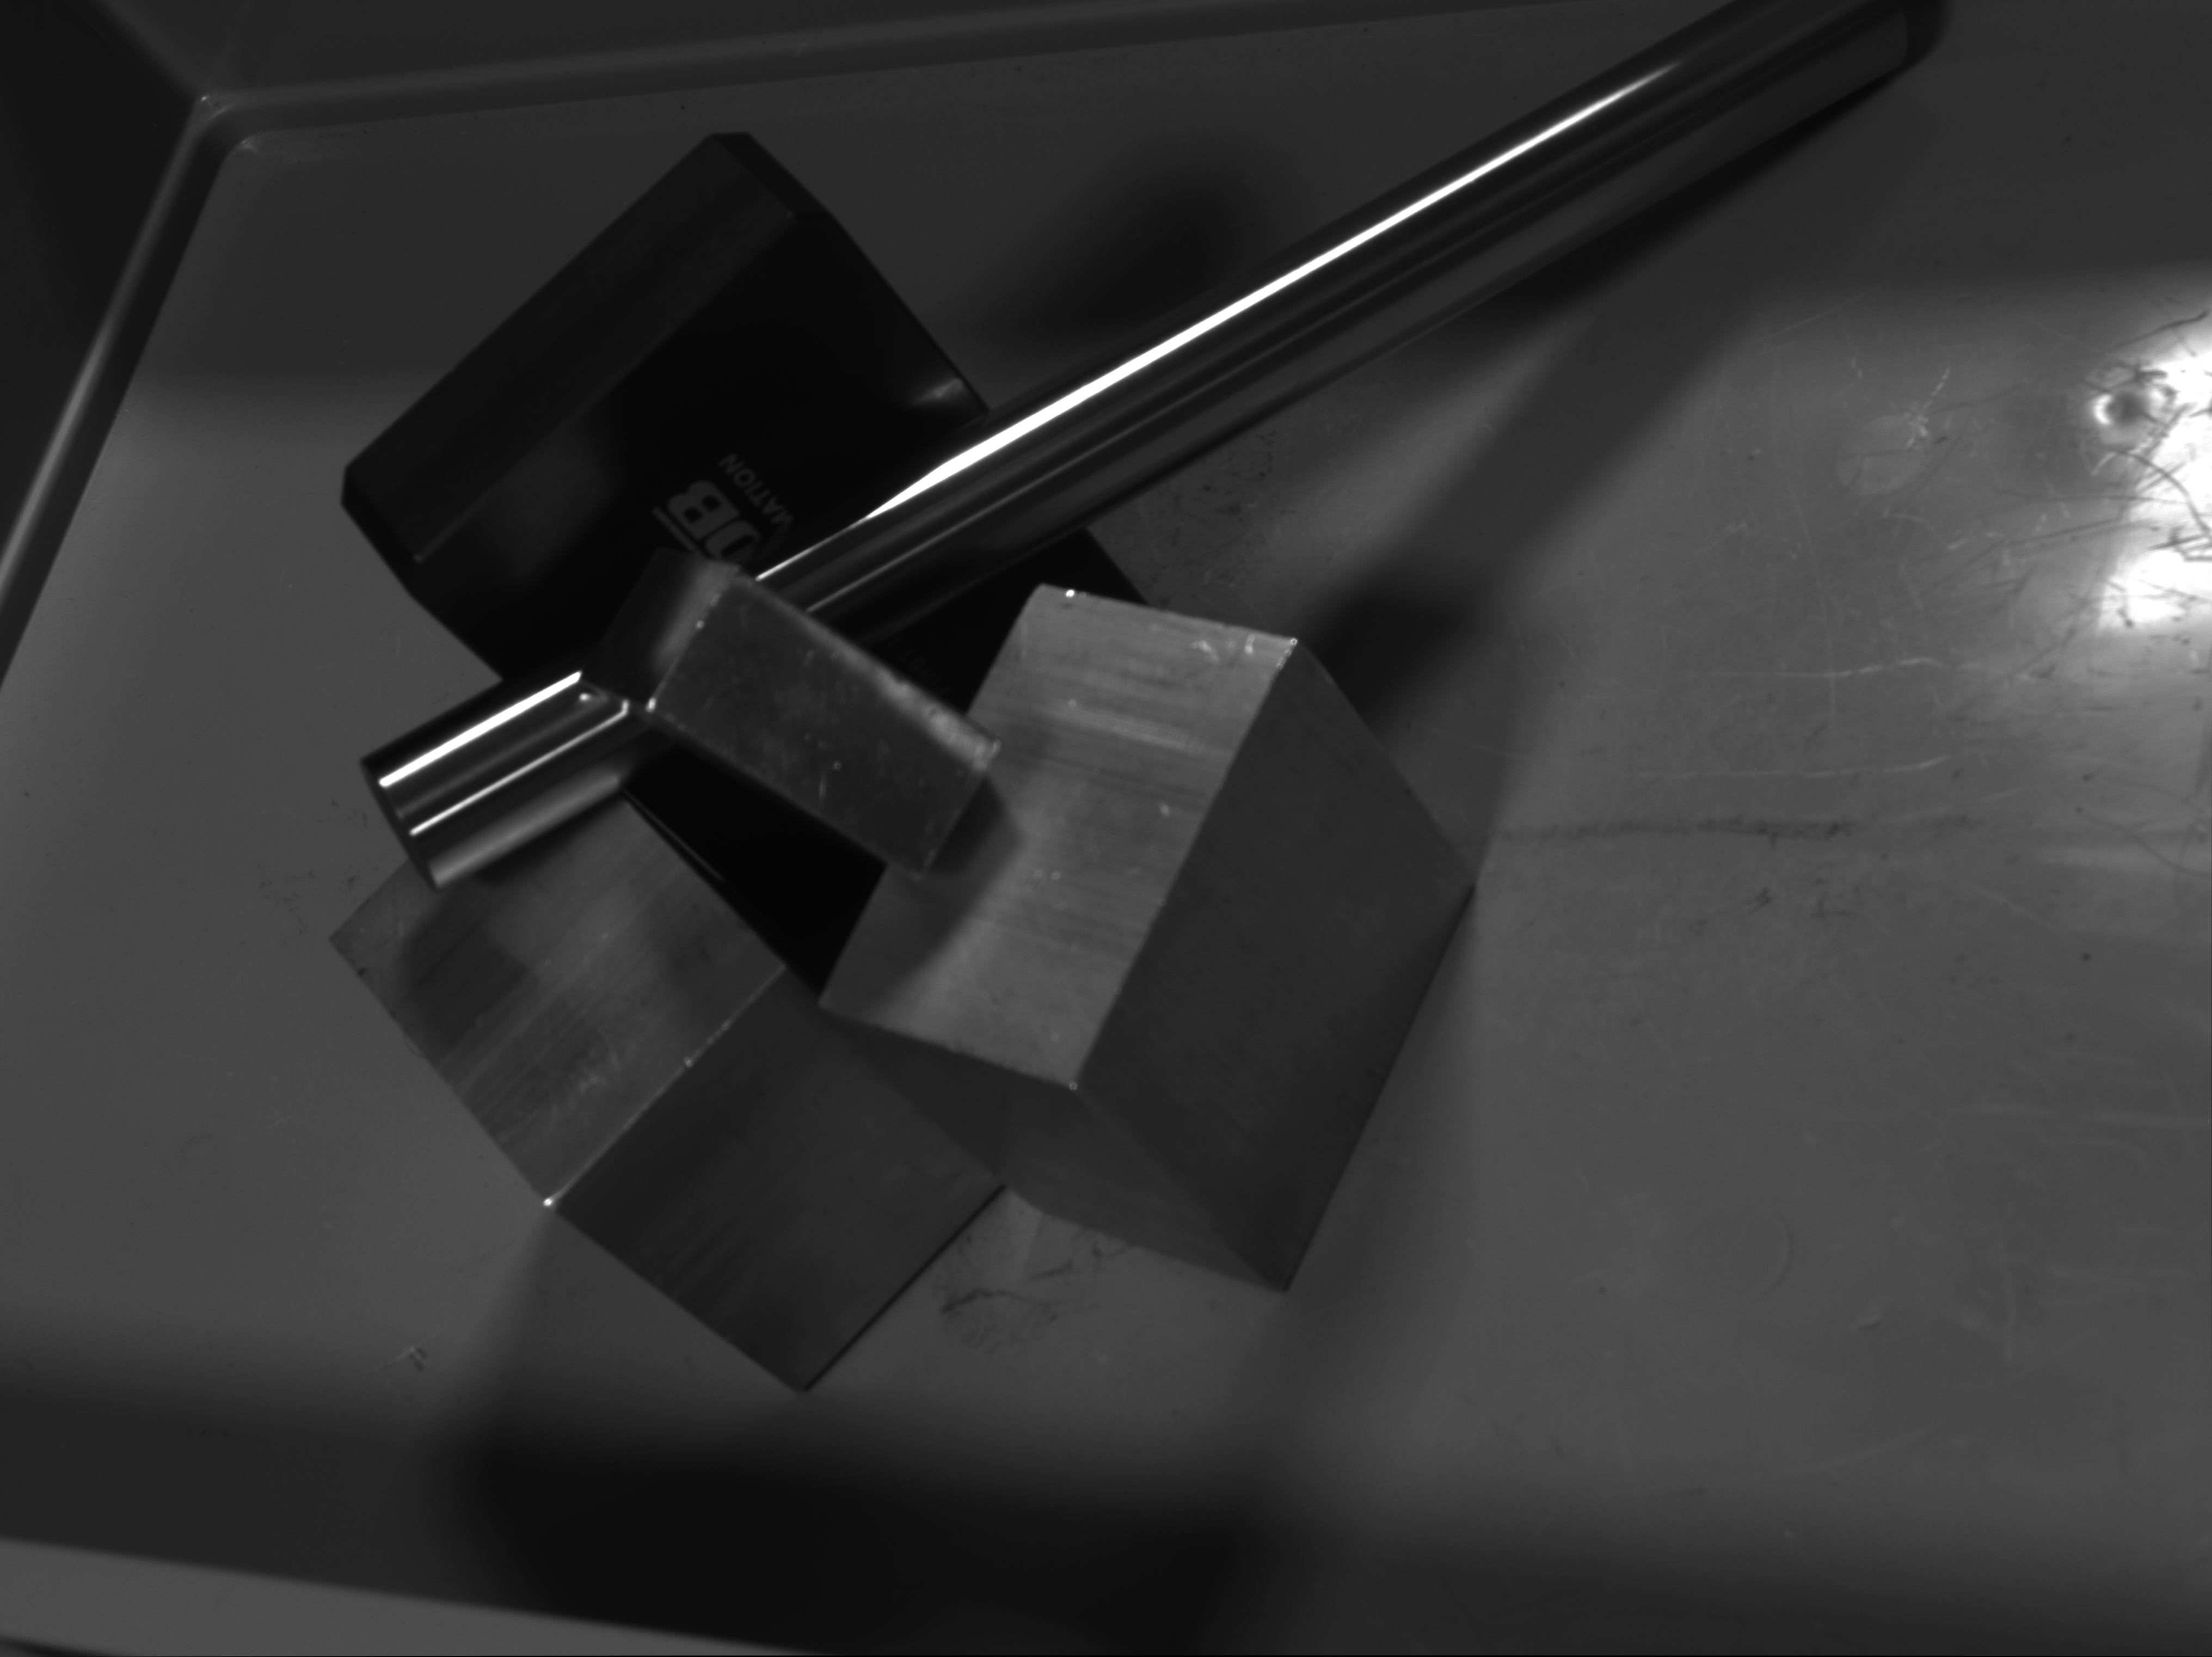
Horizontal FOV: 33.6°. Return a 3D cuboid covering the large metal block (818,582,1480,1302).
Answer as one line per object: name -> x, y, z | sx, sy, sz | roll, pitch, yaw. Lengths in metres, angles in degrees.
large metal block -> 0.010, 0.019, 0.592 | 0.050, 0.080, 0.080 | 14, 69, 34

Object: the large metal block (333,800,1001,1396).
large metal block -> -0.073, 0.040, 0.624 | 0.050, 0.080, 0.080 | -45, 51, -3

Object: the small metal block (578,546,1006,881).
small metal block -> -0.050, -0.019, 0.569 | 0.025, 0.050, 0.050 | -59, 21, -4

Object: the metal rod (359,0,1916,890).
metal rod -> 0.012, -0.075, 0.625 | 0.300, 0.025, 0.025 | -30, 49, -13

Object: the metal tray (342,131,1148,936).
metal tray -> -0.058, -0.047, 0.635 | 0.090, 0.130, 0.030 | -43, 50, 0
